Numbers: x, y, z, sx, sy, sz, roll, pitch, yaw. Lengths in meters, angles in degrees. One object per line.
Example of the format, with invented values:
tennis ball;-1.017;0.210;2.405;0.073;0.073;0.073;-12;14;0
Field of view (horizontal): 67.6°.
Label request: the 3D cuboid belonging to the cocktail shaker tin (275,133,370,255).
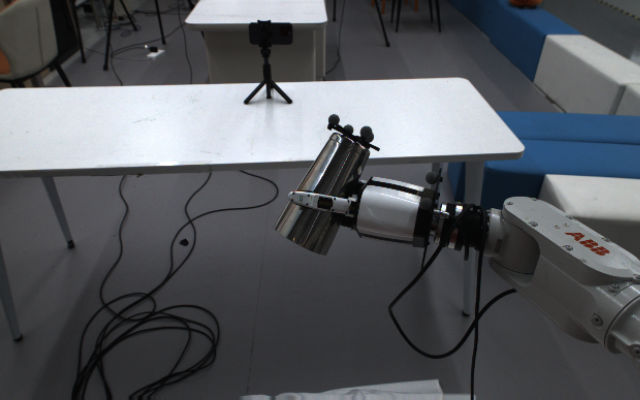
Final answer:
cocktail shaker tin;0.009;-0.017;0.740;0.093;0.170;0.093;27;2;-1
